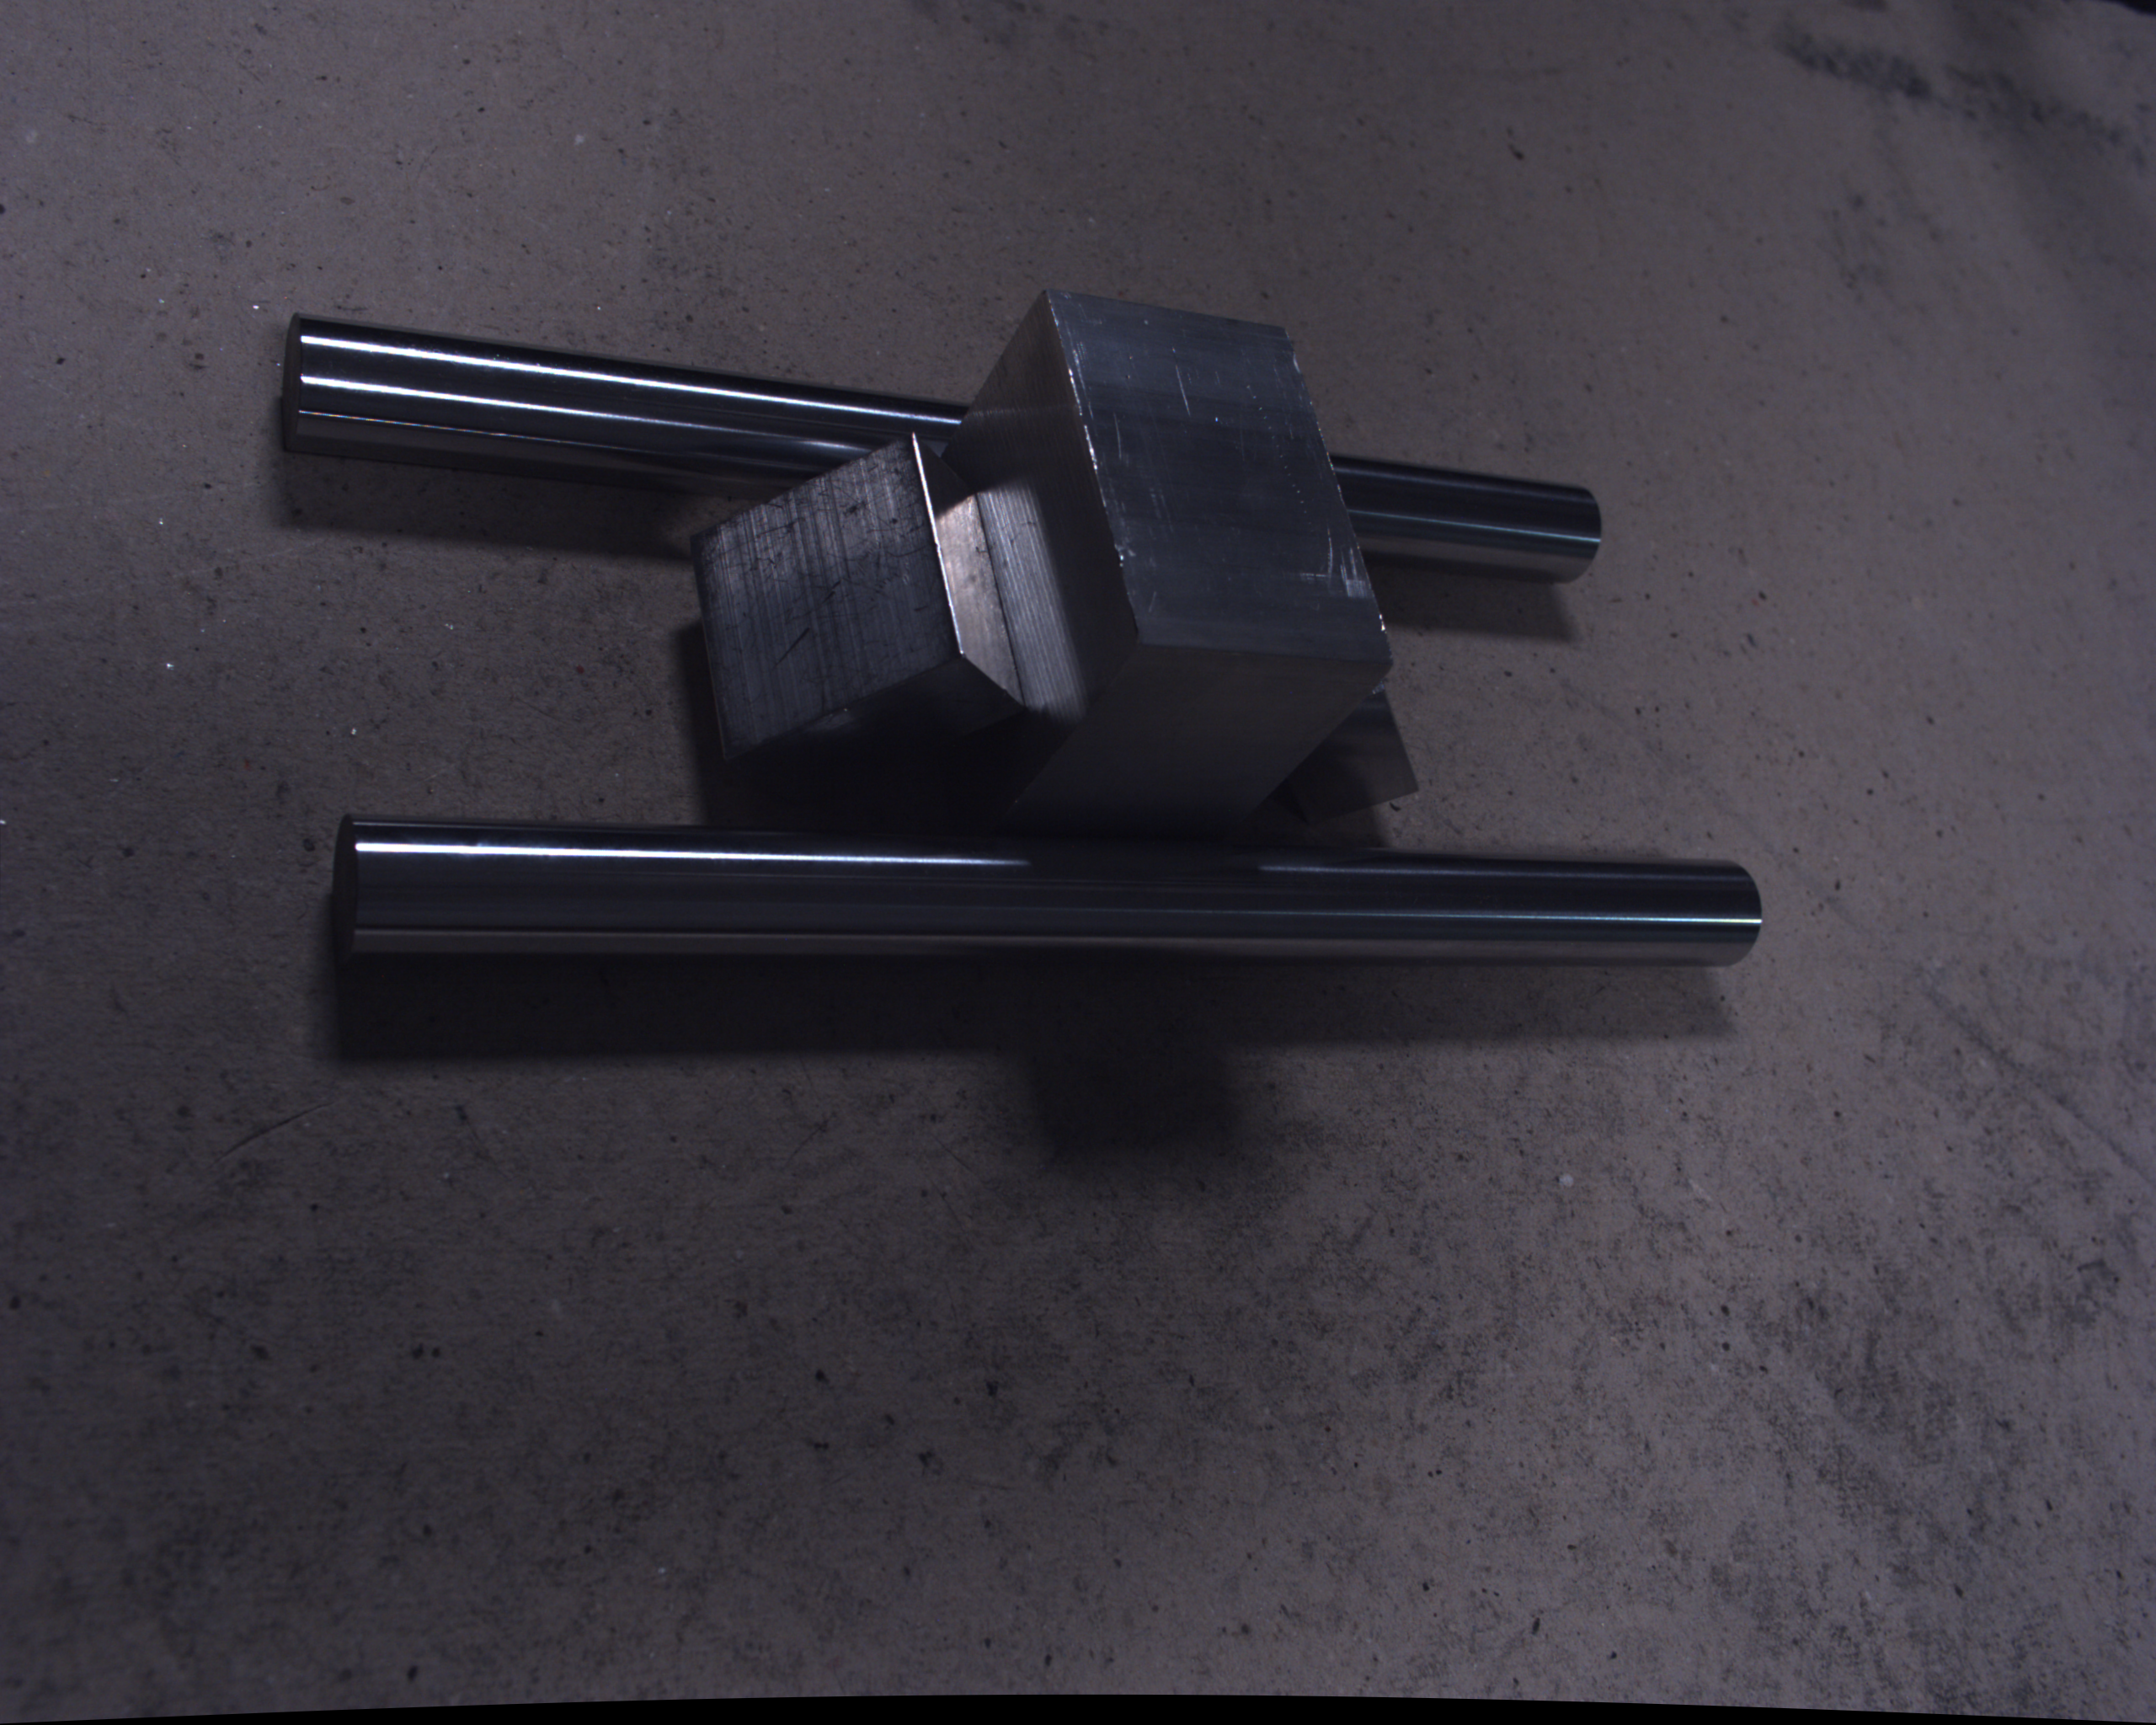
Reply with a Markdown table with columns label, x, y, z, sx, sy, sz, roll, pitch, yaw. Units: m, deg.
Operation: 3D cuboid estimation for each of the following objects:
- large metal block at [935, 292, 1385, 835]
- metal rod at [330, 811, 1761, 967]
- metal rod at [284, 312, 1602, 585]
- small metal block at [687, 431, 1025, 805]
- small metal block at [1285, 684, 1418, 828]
| label | x | y | z | sx | sy | sz | roll | pitch | yaw |
| --- | --- | --- | --- | --- | --- | --- | --- | --- | --- |
| large metal block | 0.007 | -0.051 | 0.409 | 0.050 | 0.080 | 0.080 | 1 | 62 | -28 |
| metal rod | 0.014 | 0.008 | 0.409 | 0.303 | 0.025 | 0.025 | 2 | 61 | -28 |
| metal rod | -0.010 | -0.085 | 0.453 | 0.303 | 0.025 | 0.025 | 1 | 61 | -28 |
| small metal block | -0.043 | -0.045 | 0.394 | 0.025 | 0.050 | 0.050 | 37 | 36 | -59 |
| small metal block | 0.050 | -0.042 | 0.442 | 0.025 | 0.050 | 0.050 | -18 | 64 | 9 |
